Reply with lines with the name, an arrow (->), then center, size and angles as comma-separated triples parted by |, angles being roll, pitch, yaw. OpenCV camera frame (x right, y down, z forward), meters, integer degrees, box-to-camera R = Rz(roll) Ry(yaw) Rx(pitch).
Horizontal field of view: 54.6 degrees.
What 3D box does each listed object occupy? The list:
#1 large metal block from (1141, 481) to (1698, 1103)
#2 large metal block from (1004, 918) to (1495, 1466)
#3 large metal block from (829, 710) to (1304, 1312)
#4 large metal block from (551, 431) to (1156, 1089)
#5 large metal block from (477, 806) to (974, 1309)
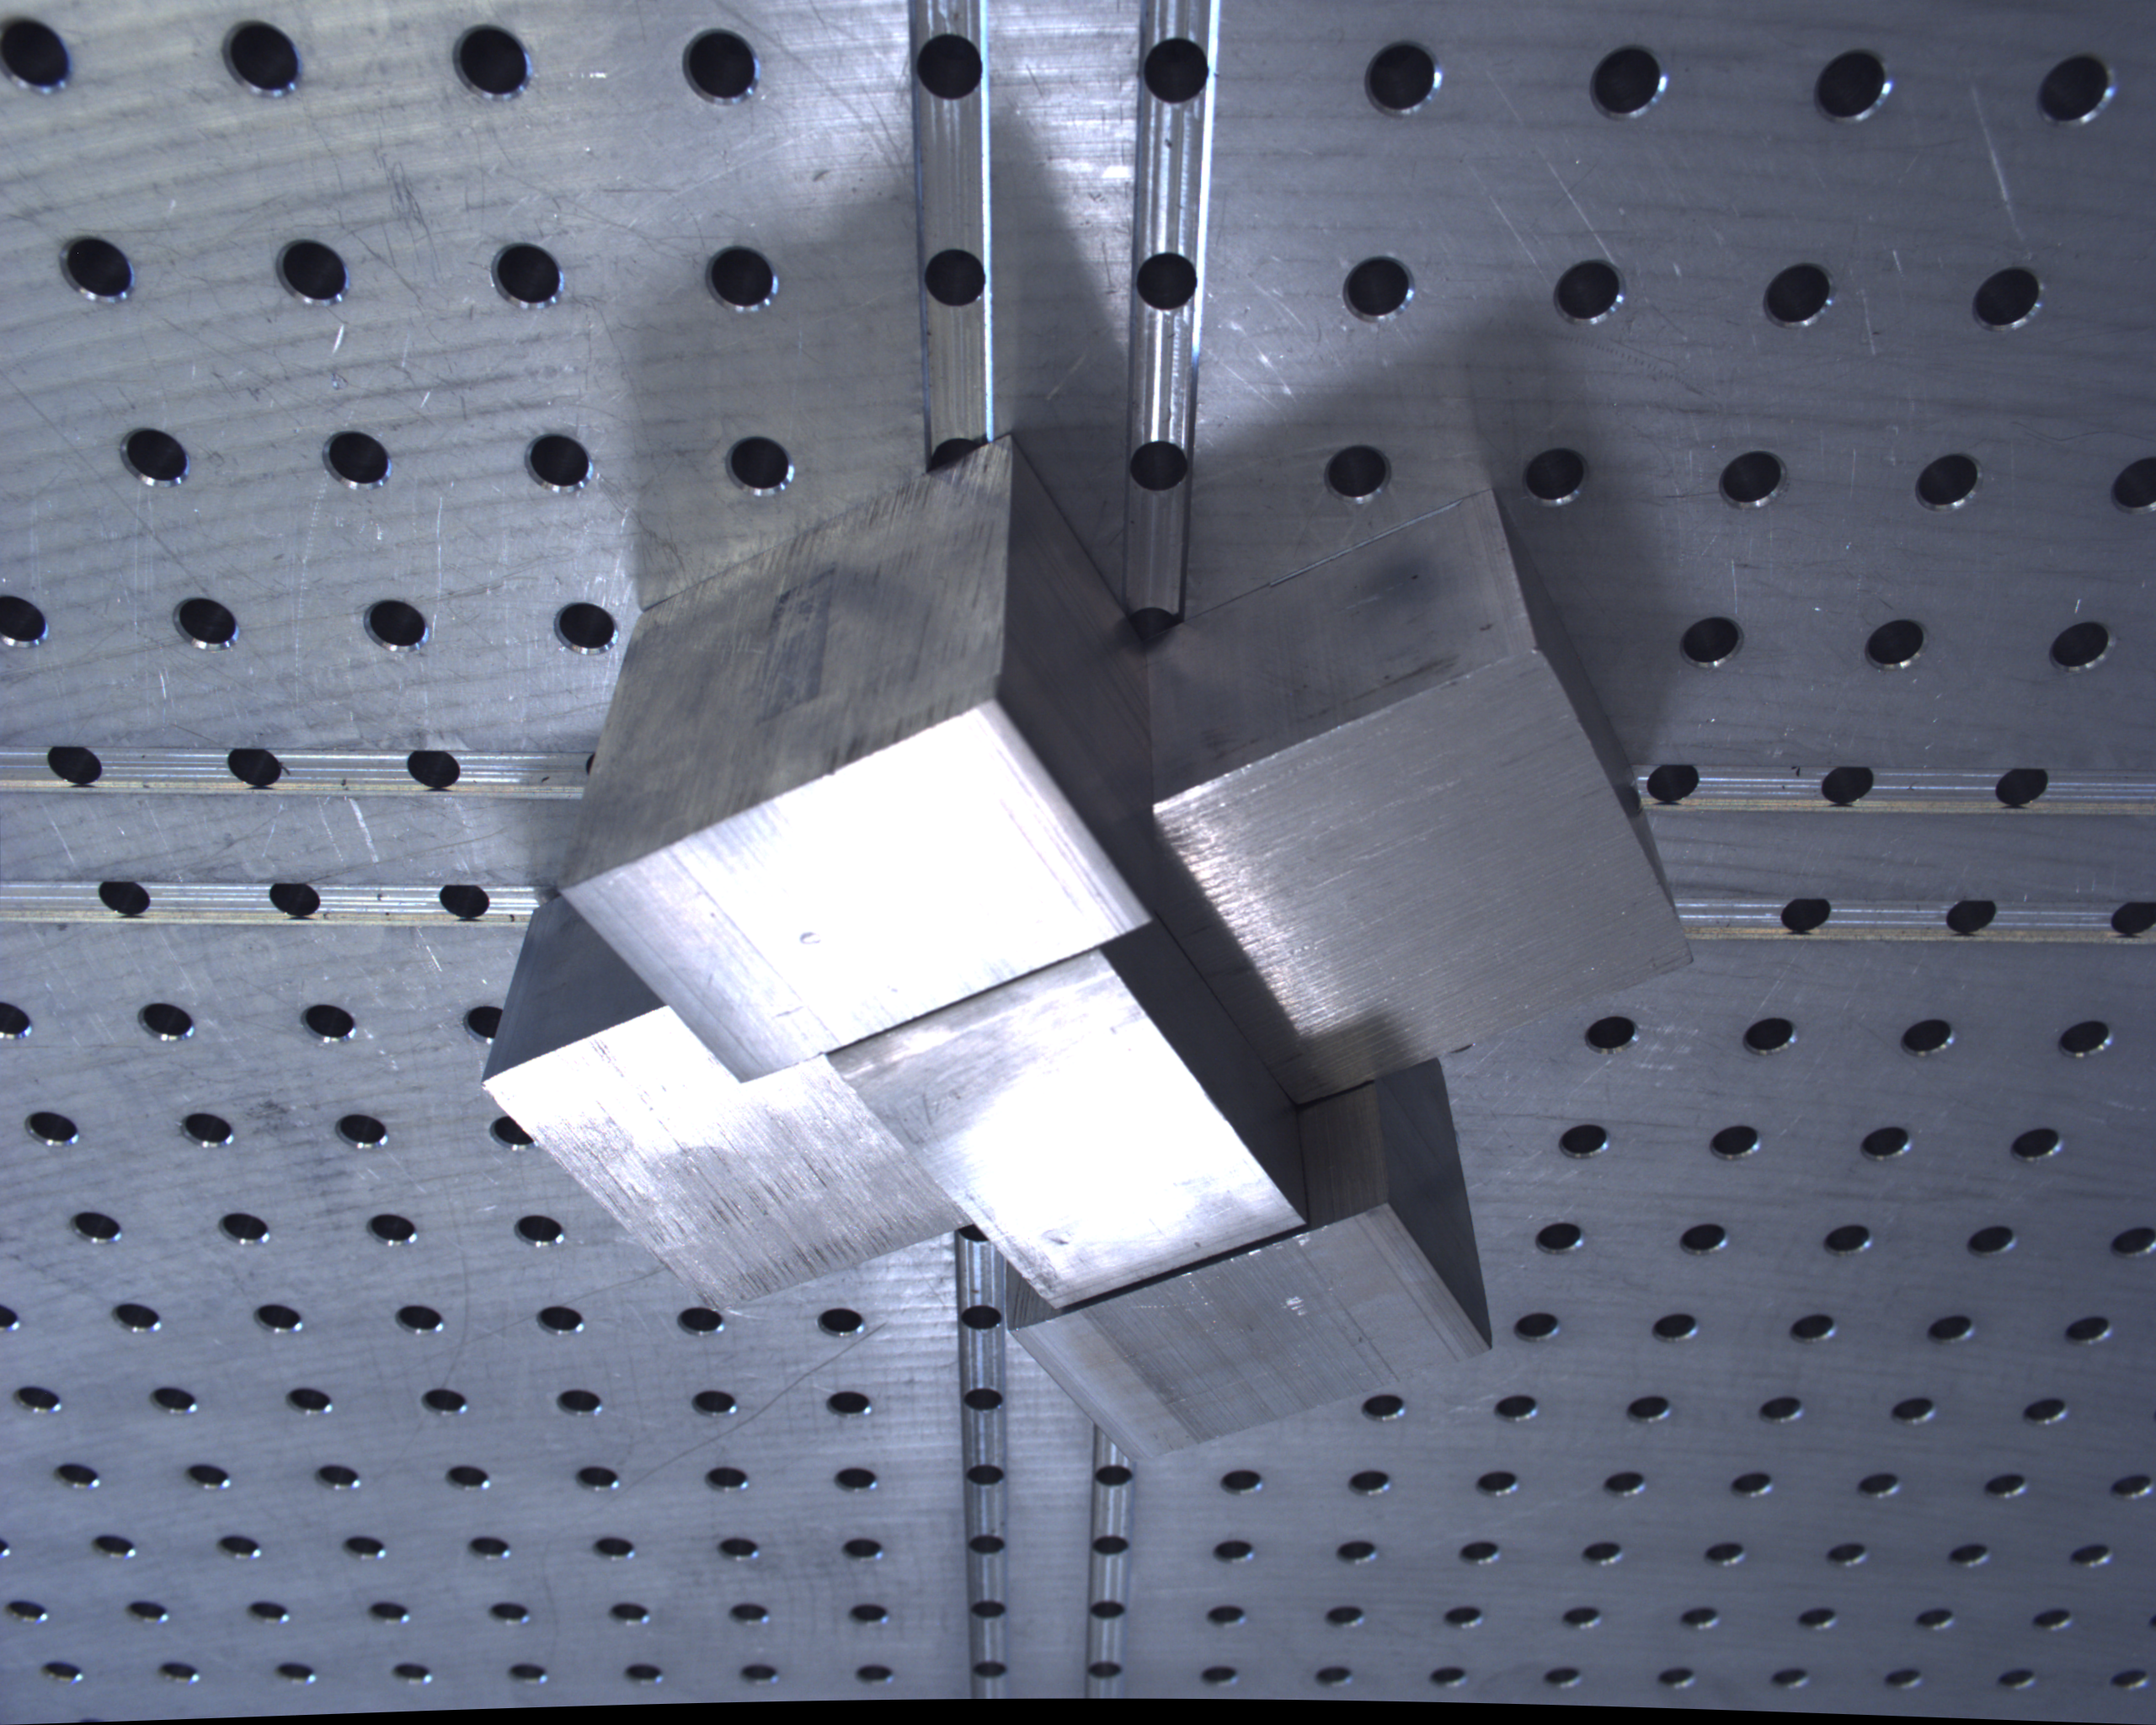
large metal block -> 0.057, -0.010, 0.386 | 0.080, 0.050, 0.080 | -23, 129, 18
large metal block -> 0.033, 0.066, 0.432 | 0.080, 0.080, 0.050 | -23, 126, 17
large metal block -> 0.000, 0.024, 0.395 | 0.050, 0.080, 0.080 | -23, 127, 18
large metal block -> -0.035, -0.018, 0.359 | 0.080, 0.080, 0.050 | -22, 126, 18
large metal block -> -0.060, 0.038, 0.428 | 0.080, 0.050, 0.080 | -21, 127, 17
